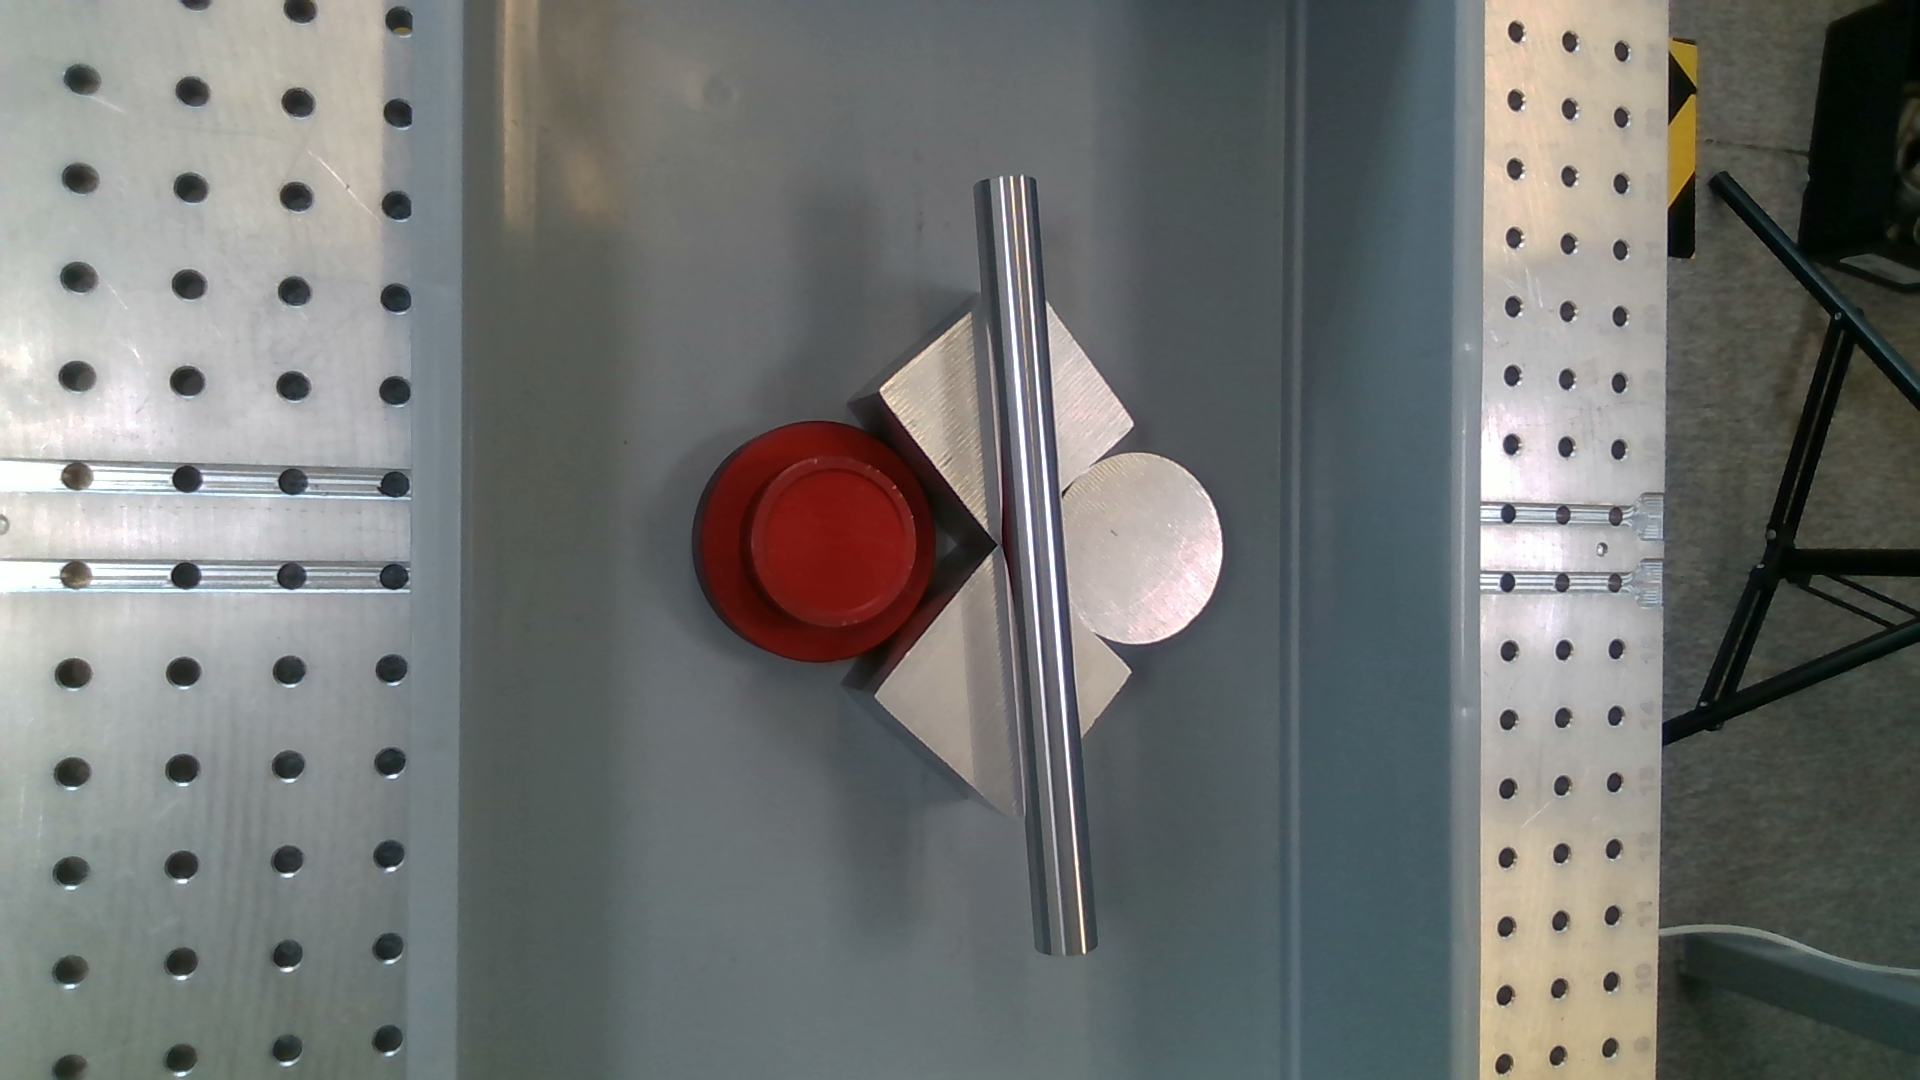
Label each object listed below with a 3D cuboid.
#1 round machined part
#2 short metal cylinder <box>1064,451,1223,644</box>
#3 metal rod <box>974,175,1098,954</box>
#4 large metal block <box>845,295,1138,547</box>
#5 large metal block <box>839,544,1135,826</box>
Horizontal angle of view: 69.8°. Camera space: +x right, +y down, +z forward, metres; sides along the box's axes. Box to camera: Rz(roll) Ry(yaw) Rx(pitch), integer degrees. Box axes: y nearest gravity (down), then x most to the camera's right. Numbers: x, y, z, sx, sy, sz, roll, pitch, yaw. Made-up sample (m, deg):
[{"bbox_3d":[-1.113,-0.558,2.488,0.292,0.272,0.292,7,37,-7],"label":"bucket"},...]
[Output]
[{"bbox_3d":[-0.056,0.001,0.555,0.098,0.042,0.098,0,90,-20],"label":"round machined part"},{"bbox_3d":[0.066,0.003,0.596,0.080,0.050,0.080,0,90,-20],"label":"short metal cylinder"},{"bbox_3d":[0.030,0.010,0.541,0.025,0.025,0.300,-5,92,-20],"label":"metal rod"},{"bbox_3d":[0.013,-0.054,0.576,0.080,0.050,0.080,-41,104,-14],"label":"large metal block"},{"bbox_3d":[0.011,0.058,0.573,0.080,0.050,0.080,44,76,-14],"label":"large metal block"}]
